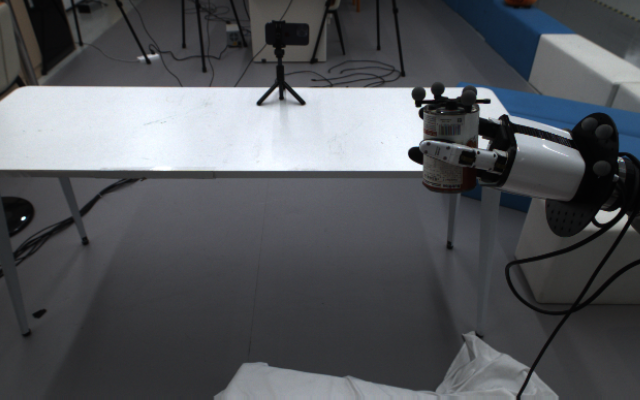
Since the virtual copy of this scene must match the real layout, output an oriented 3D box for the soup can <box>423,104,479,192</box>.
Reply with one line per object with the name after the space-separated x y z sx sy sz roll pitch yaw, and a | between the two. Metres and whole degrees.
0.164 -0.068 0.608 0.067 0.101 0.067 -4 21 1 | soup can
